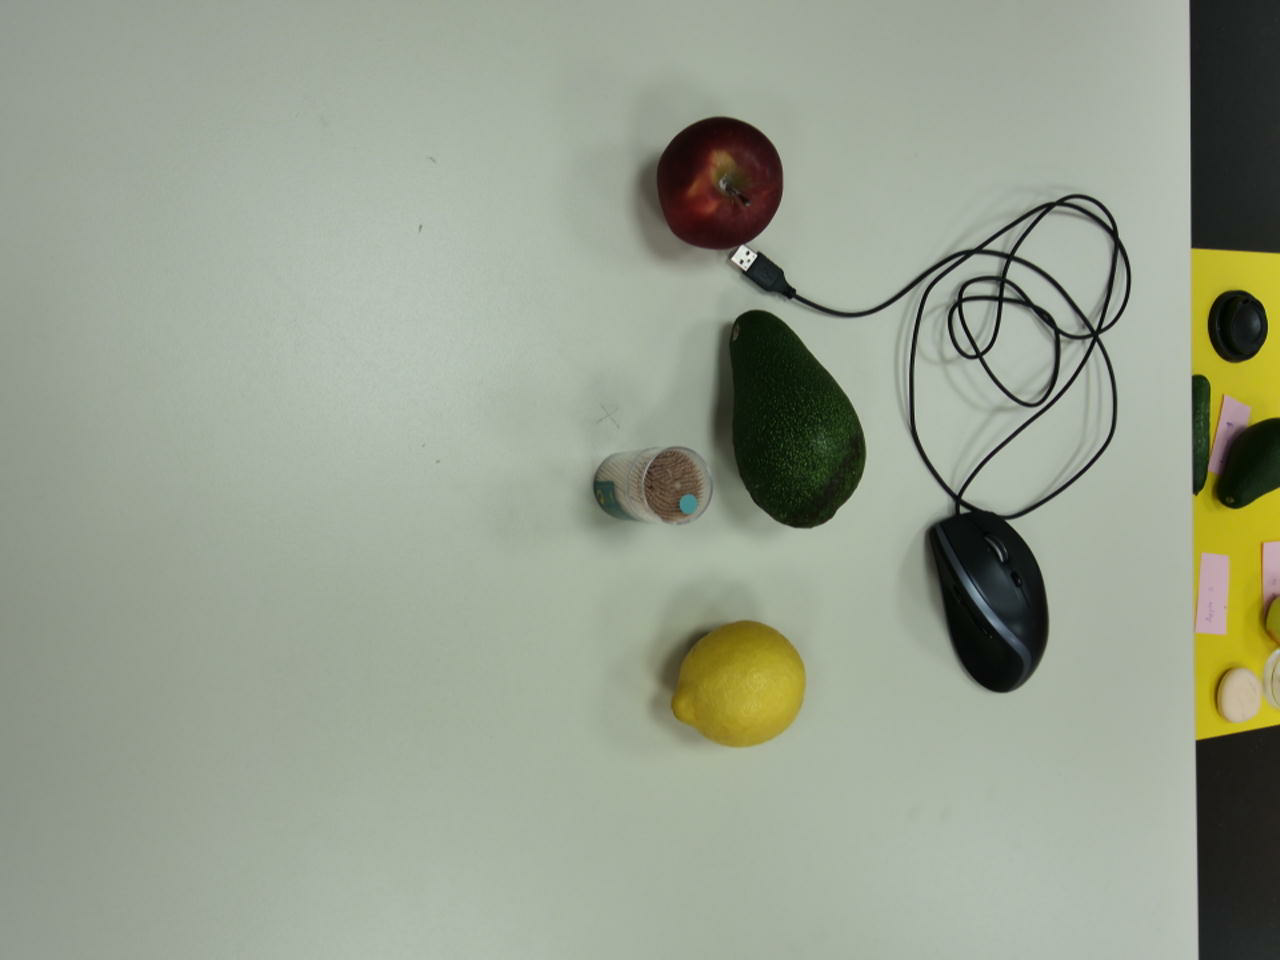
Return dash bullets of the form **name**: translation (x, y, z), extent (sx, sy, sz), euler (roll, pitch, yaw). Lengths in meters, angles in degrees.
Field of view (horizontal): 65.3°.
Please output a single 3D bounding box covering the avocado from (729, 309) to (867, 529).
- **avocado**: translation (0.091, -0.034, 0.562), extent (0.074, 0.076, 0.123), euler (6, 88, -22)
